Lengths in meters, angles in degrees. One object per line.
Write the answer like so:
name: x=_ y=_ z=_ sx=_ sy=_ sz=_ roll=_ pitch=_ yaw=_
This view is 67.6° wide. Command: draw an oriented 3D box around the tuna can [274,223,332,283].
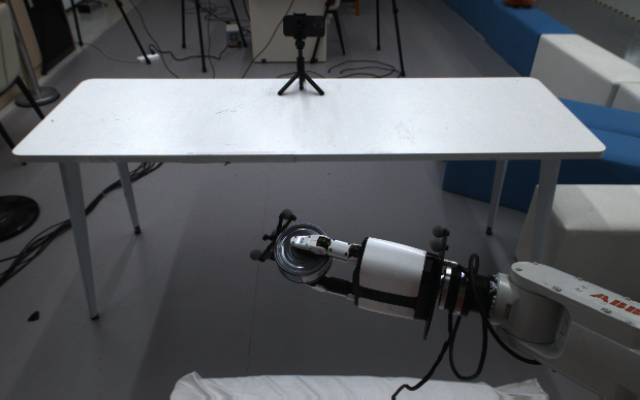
tuna can: x=-0.021 y=0.083 z=0.711 sx=0.085 sy=0.034 sz=0.085 roll=-1 pitch=62 yaw=1
